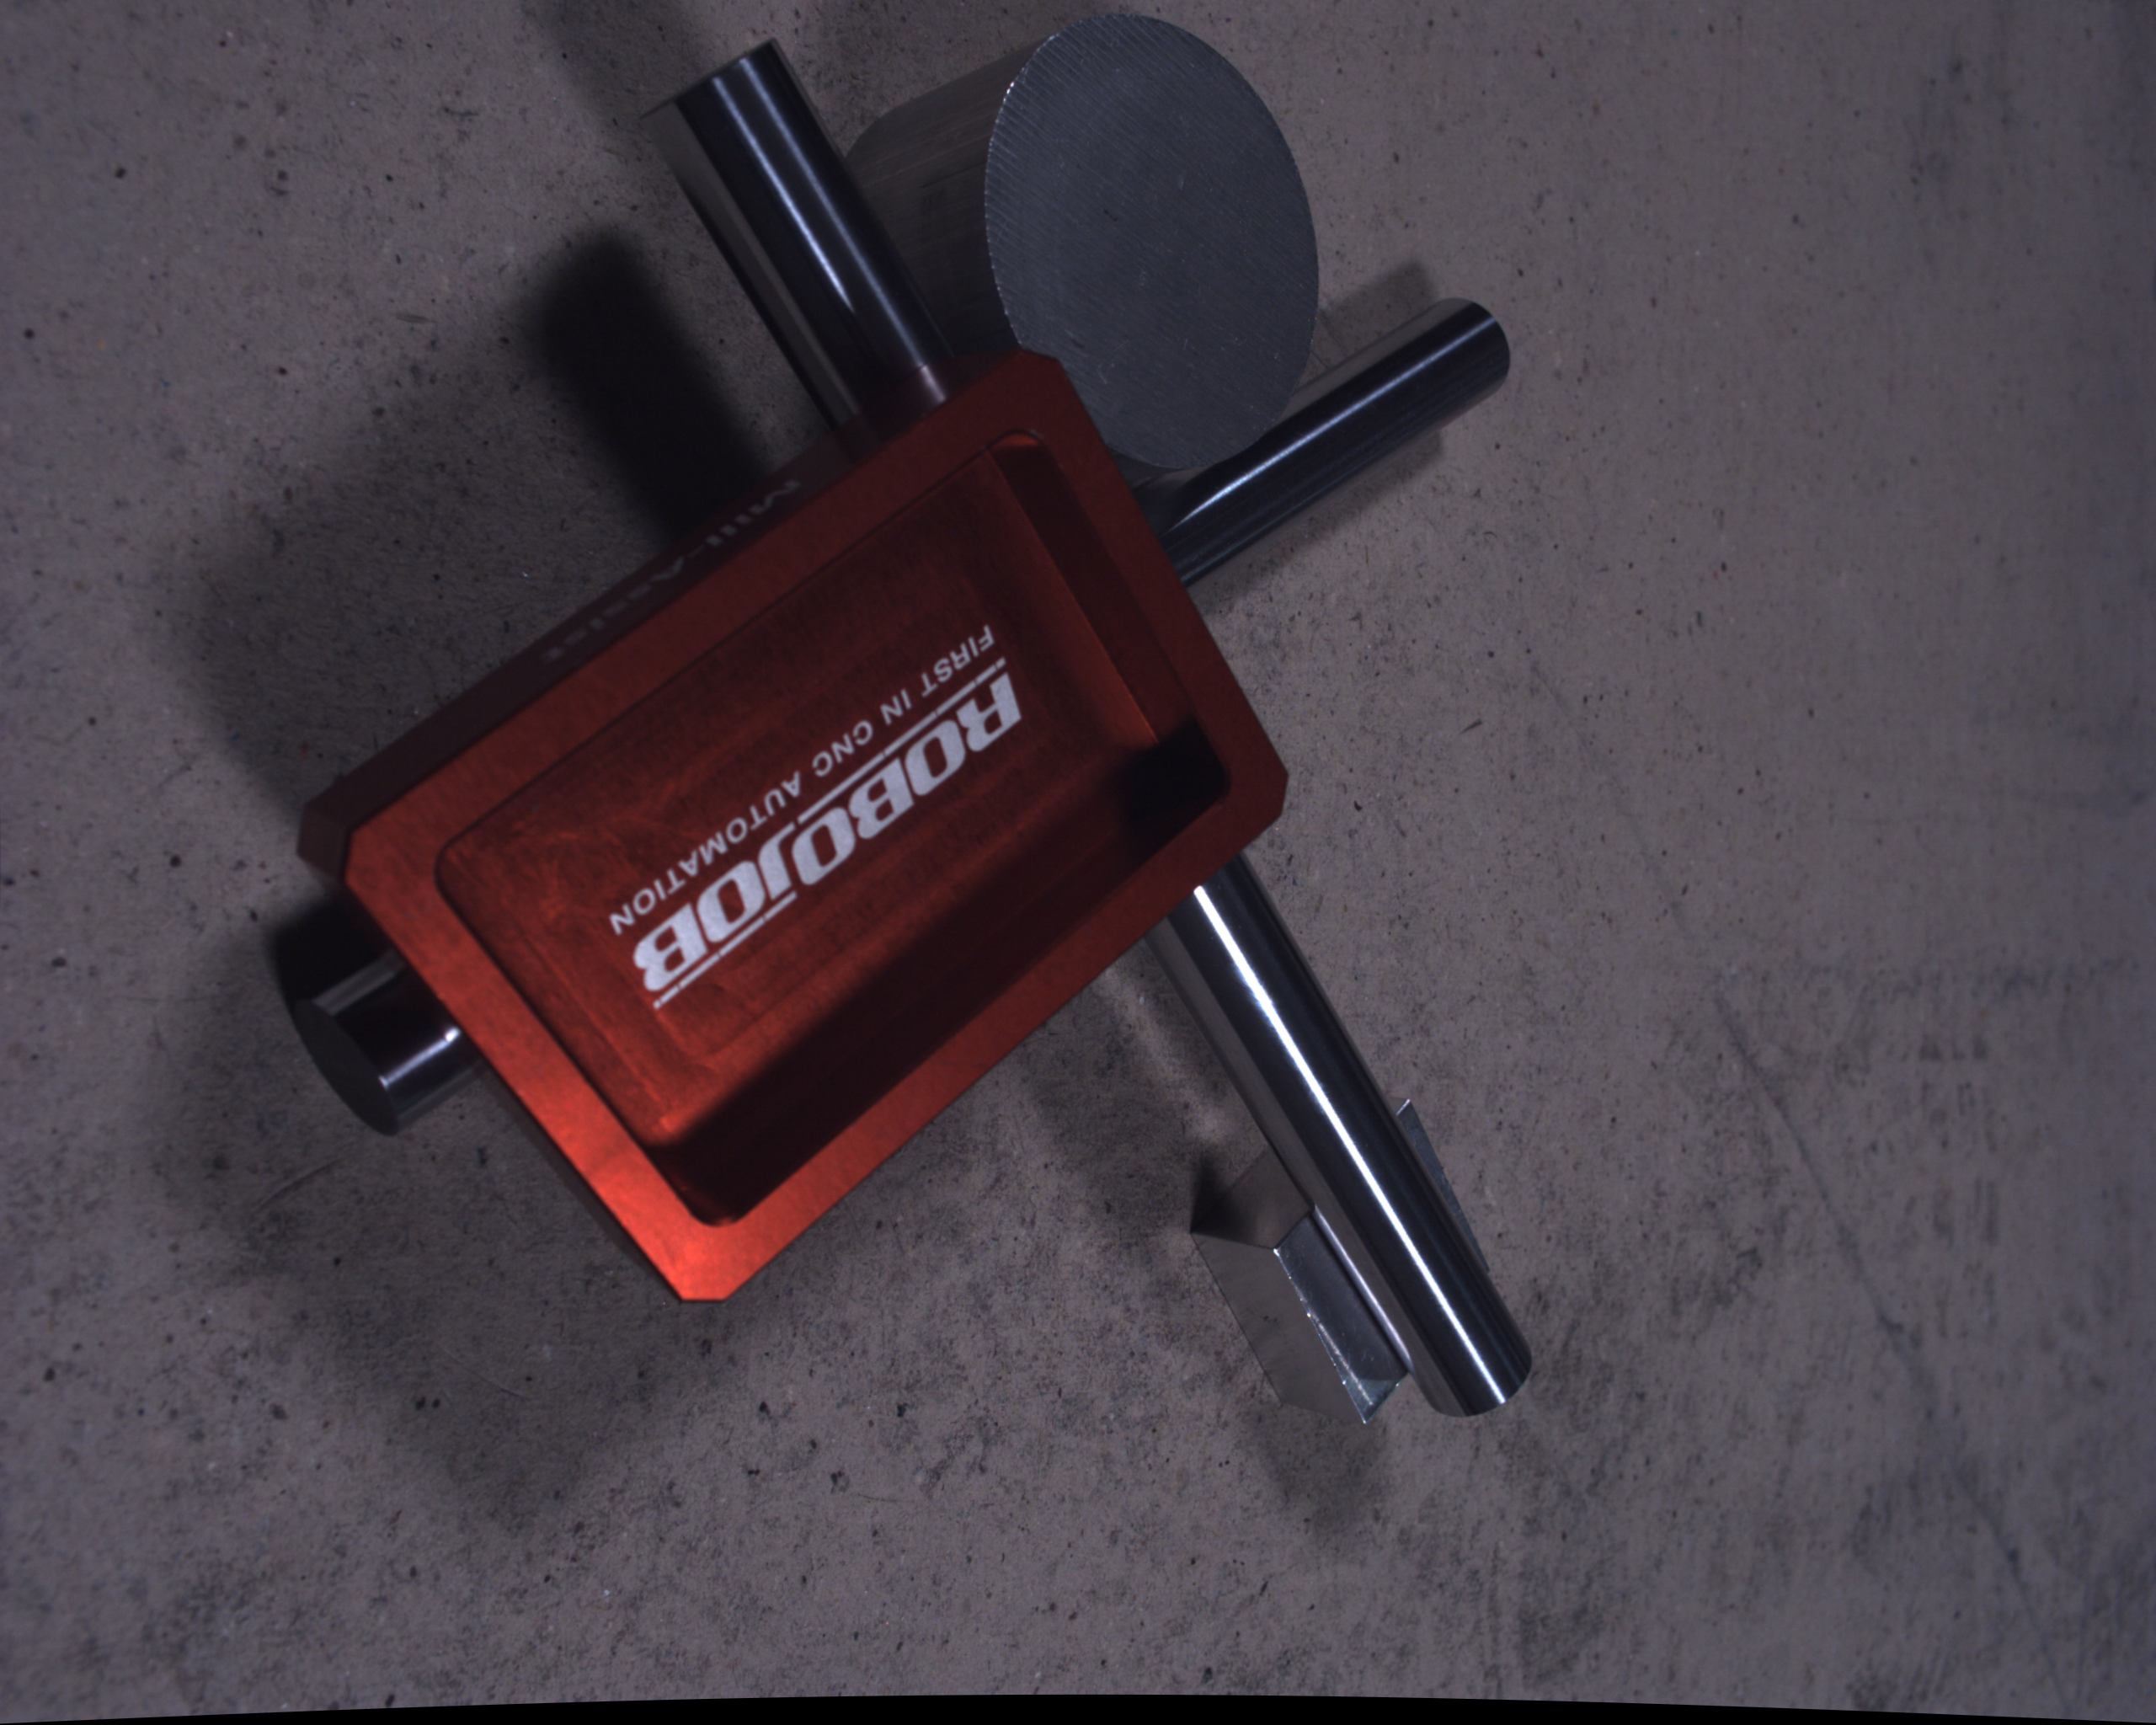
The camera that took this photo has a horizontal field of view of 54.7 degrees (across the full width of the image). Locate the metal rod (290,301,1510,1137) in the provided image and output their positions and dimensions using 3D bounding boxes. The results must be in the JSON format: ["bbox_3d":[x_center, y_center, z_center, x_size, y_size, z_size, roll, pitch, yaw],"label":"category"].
[{"bbox_3d":[-0.011,-0.044,0.399,0.302,0.025,0.025,-37,113,-34],"label":"metal rod"}]

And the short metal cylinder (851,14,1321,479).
[{"bbox_3d":[-0.001,-0.110,0.390,0.081,0.050,0.079,0,90,-40],"label":"short metal cylinder"}]

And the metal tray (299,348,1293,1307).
[{"bbox_3d":[-0.037,-0.007,0.323,0.131,0.030,0.090,-41,115,-20],"label":"metal tray"}]

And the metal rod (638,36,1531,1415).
[{"bbox_3d":[0.014,-0.007,0.388,0.025,0.025,0.299,-47,118,-30],"label":"metal rod"}]

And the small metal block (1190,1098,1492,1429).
[{"bbox_3d":[0.059,0.086,0.458,0.050,0.025,0.050,-41,115,-32],"label":"small metal block"}]
